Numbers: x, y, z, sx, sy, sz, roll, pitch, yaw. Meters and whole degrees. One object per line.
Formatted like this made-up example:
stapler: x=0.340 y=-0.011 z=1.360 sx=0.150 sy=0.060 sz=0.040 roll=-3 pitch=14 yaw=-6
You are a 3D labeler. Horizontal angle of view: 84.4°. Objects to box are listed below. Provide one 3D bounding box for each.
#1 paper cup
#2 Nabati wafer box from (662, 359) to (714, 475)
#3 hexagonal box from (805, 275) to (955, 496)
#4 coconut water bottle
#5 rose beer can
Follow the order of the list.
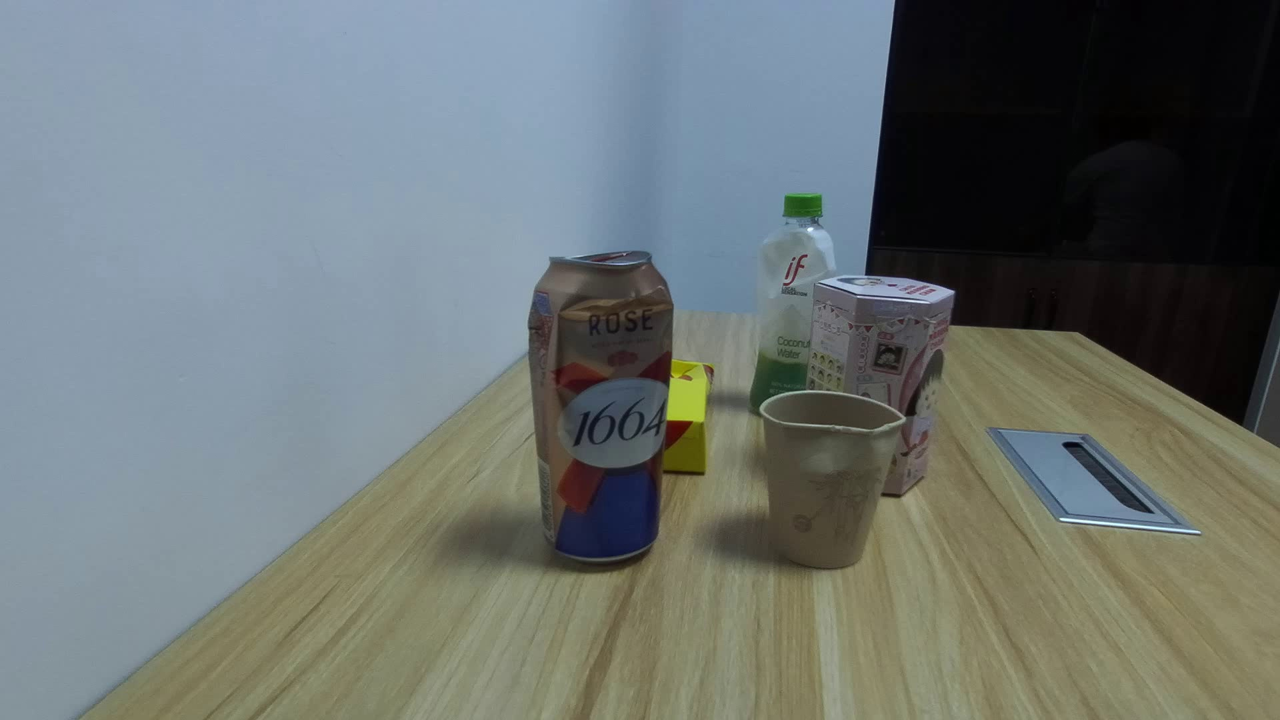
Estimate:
paper cup: x=0.104 y=0.068 z=0.398 sx=0.074 sy=0.081 sz=0.068 roll=-6 pitch=17 yaw=-28
Nabati wafer box: x=0.011 y=0.032 z=0.586 sx=0.096 sy=0.042 sz=0.203 roll=3 pitch=16 yaw=8
hexagonal box: x=0.161 y=0.015 z=0.489 sx=0.083 sy=0.136 sz=0.091 roll=14 pitch=21 yaw=36
coconut water bottle: x=0.131 y=-0.045 z=0.600 sx=0.067 sy=0.187 sz=0.067 roll=2 pitch=14 yaw=0
rose beer can: x=-0.021 y=0.026 z=0.390 sx=0.076 sy=0.167 sz=0.065 roll=-5 pitch=15 yaw=-13
